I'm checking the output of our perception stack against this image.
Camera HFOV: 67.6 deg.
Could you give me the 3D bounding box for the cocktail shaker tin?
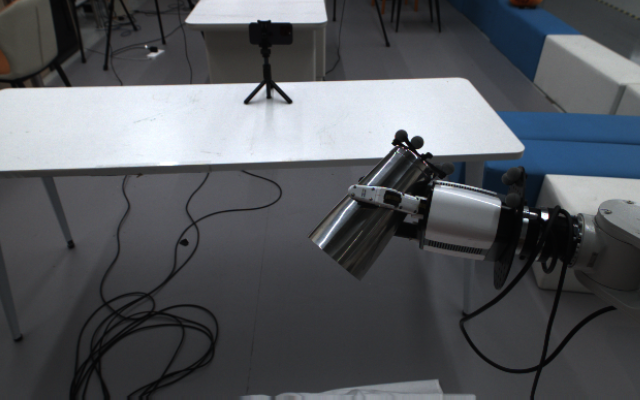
[{"bbox_3d":[0.073,0.009,0.645,0.170,0.093,0.093,-48,49,-3],"label":"cocktail shaker tin"}]
